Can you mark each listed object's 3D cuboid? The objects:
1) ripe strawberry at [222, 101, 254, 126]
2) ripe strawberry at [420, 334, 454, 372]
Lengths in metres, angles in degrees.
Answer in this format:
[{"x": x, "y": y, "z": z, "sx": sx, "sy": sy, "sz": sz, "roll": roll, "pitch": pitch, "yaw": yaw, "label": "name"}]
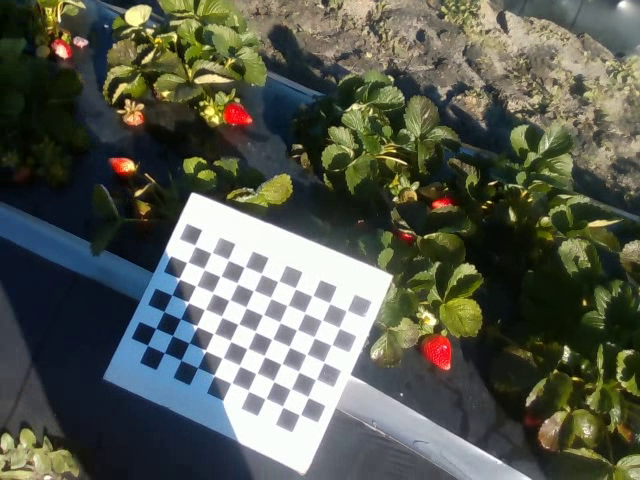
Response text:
[{"x": -0.143, "y": -0.219, "z": 1.113, "sx": 0.064, "sy": 0.050, "sz": 0.052, "roll": 28, "pitch": -7, "yaw": 18, "label": "ripe strawberry"}, {"x": 0.160, "y": 0.156, "z": 0.851, "sx": 0.048, "sy": 0.055, "sz": 0.030, "roll": -23, "pitch": -11, "yaw": -1, "label": "ripe strawberry"}]
